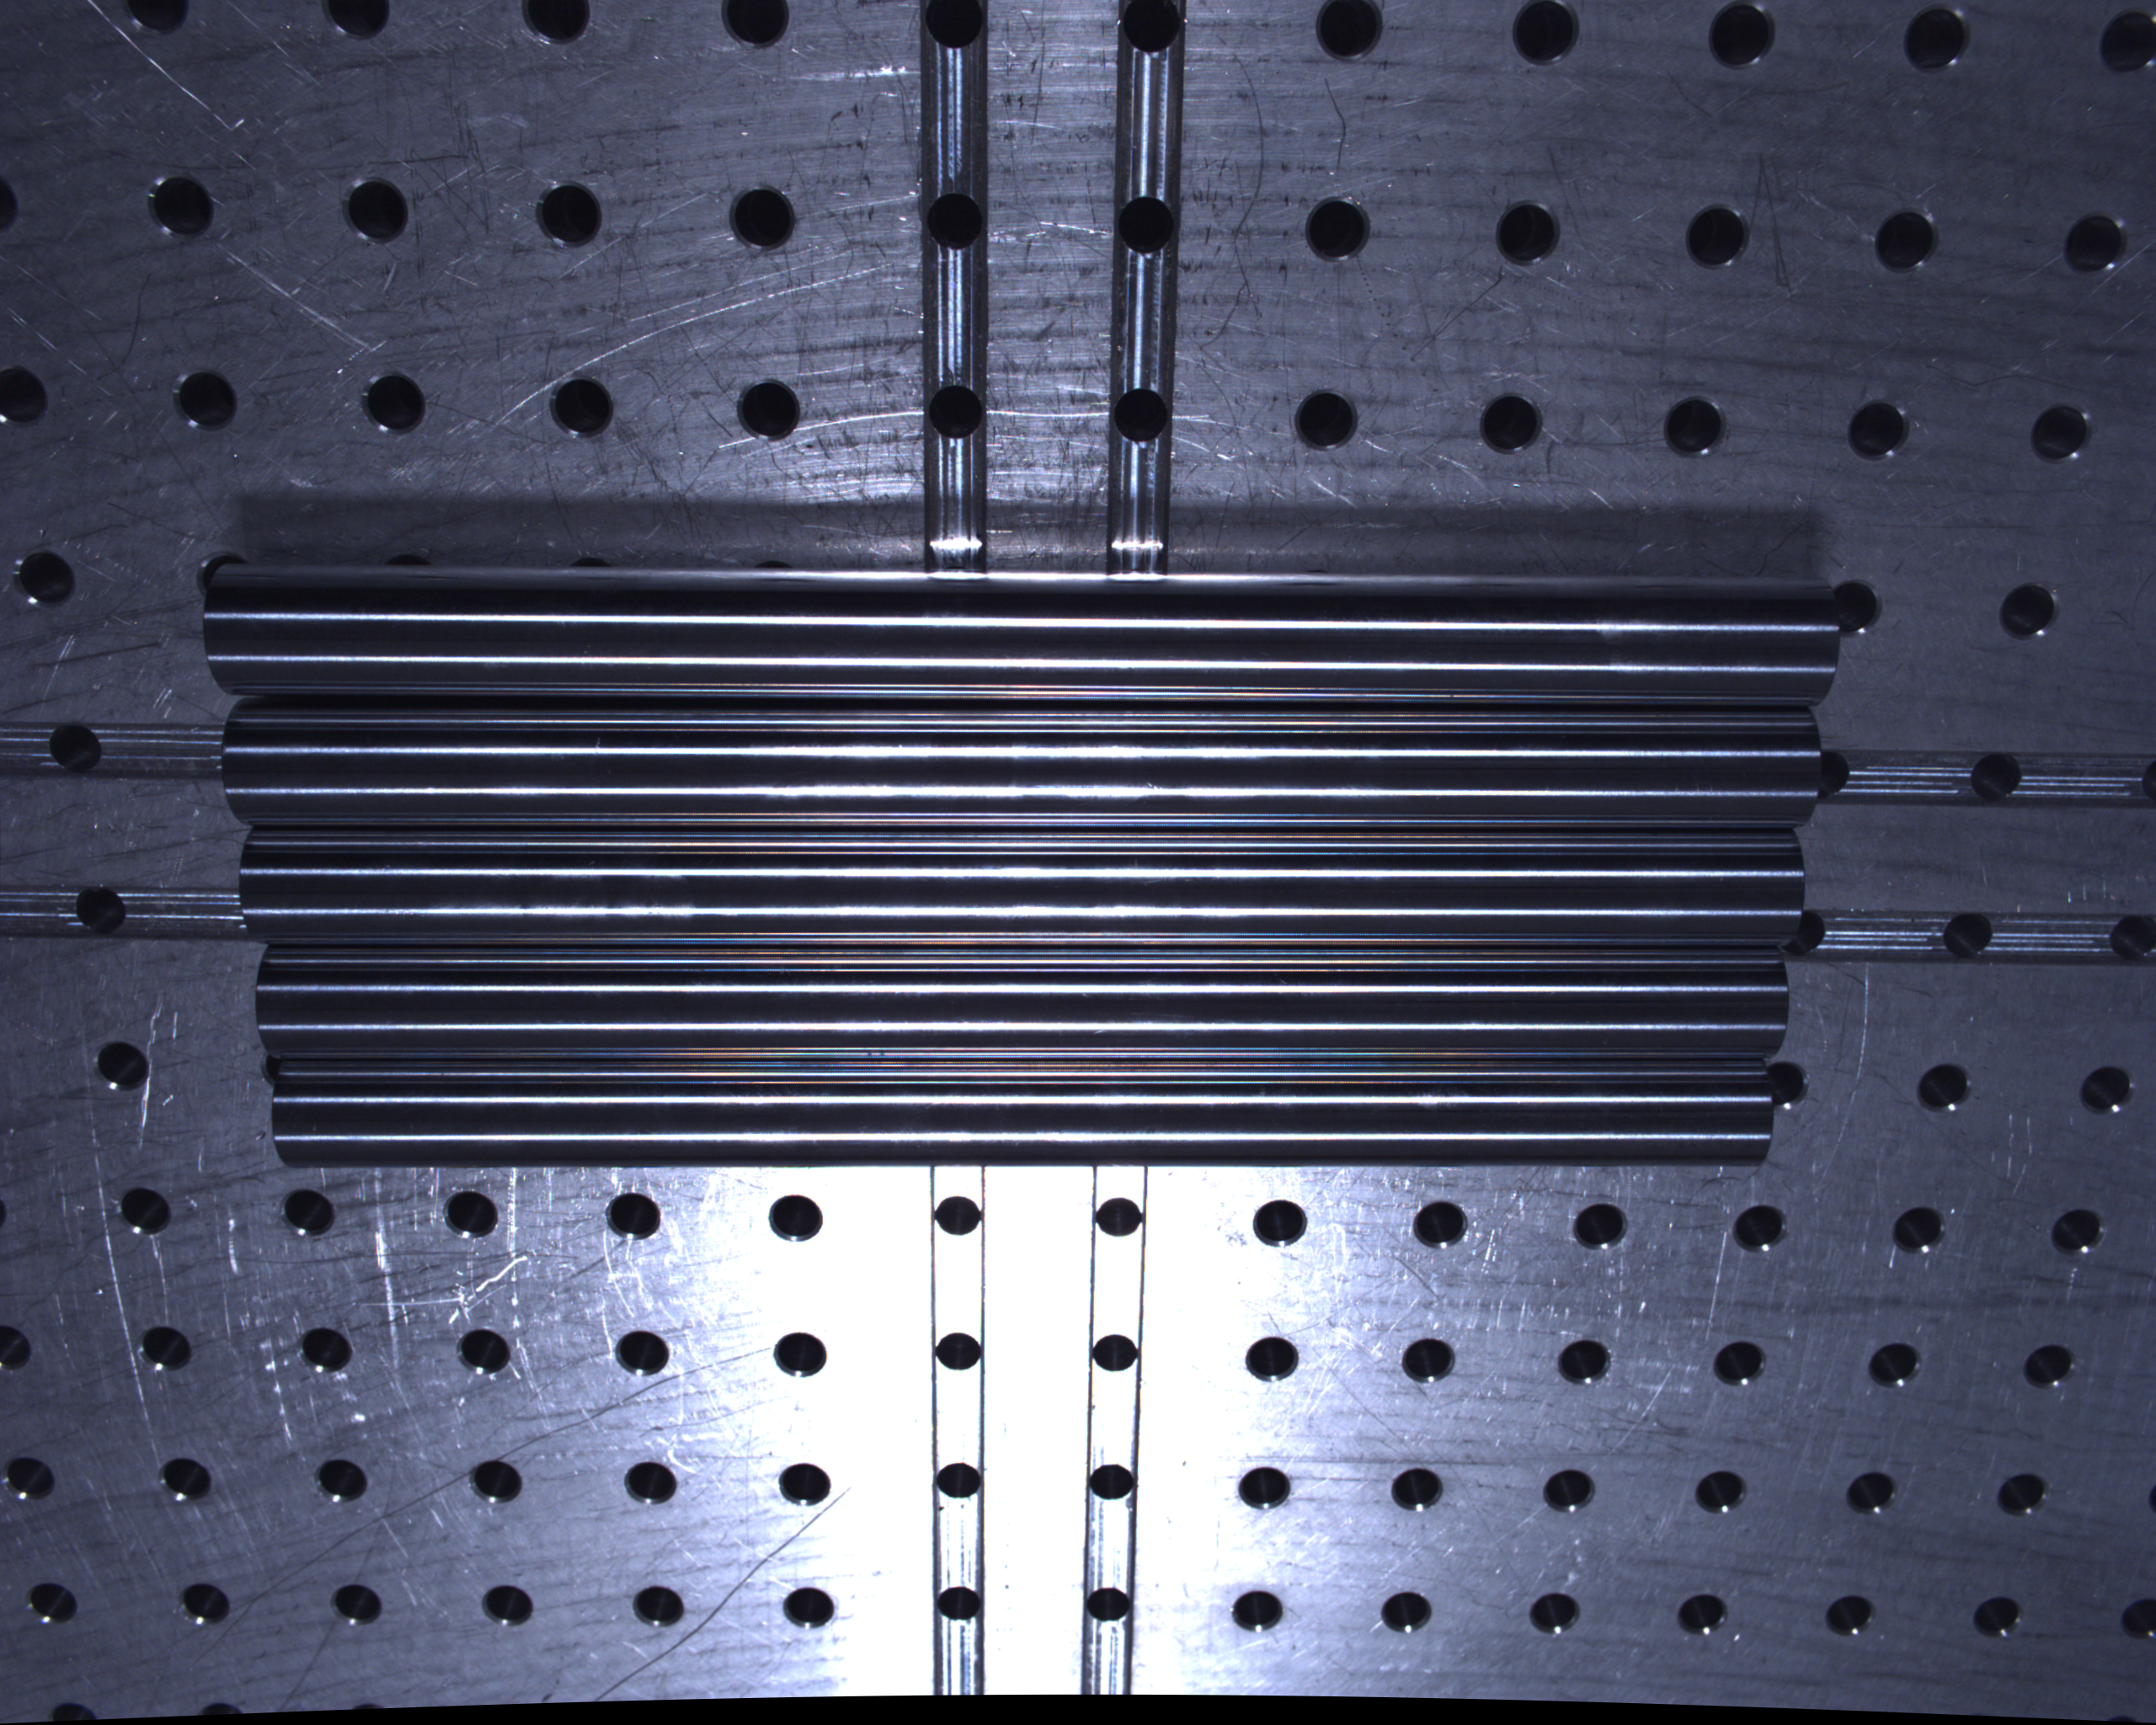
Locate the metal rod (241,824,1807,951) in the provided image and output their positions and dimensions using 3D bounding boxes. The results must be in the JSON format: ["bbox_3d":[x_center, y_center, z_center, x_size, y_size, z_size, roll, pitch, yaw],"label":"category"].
[{"bbox_3d":[-0.010,0.005,0.415,0.302,0.025,0.025,0,110,-1],"label":"metal rod"}]

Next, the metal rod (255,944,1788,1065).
[{"bbox_3d":[-0.010,0.028,0.423,0.302,0.025,0.025,0,110,-1],"label":"metal rod"}]

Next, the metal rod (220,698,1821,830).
[{"bbox_3d":[-0.010,-0.020,0.406,0.302,0.025,0.025,0,110,-1],"label":"metal rod"}]

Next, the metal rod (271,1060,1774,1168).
[{"bbox_3d":[-0.010,0.050,0.432,0.302,0.025,0.025,0,110,-1],"label":"metal rod"}]

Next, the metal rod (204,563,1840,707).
[{"bbox_3d":[-0.009,-0.043,0.397,0.302,0.025,0.025,0,110,-1],"label":"metal rod"}]
